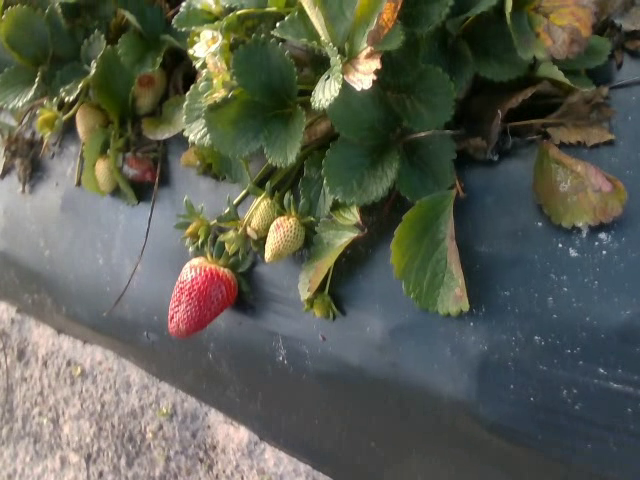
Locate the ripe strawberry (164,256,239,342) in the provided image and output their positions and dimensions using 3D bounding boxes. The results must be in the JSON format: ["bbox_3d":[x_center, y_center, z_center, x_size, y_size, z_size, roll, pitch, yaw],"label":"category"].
[{"bbox_3d":[-0.098,0.046,0.552,0.052,0.068,0.045,19,-16,29],"label":"ripe strawberry"}]
